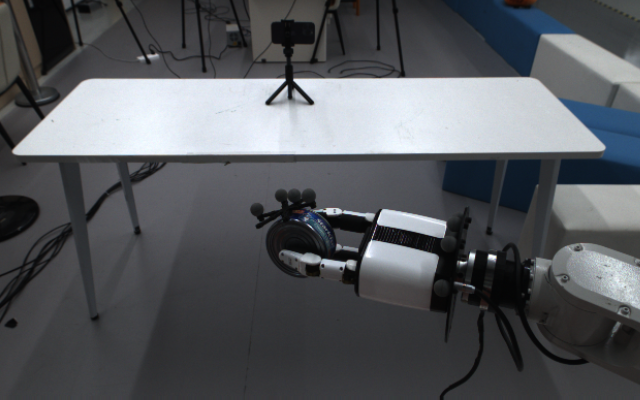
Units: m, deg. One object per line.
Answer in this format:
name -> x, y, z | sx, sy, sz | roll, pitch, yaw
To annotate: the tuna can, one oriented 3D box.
tuna can -> -0.021, 0.061, 0.611 | 0.085, 0.085, 0.034 | 15, 29, 17
